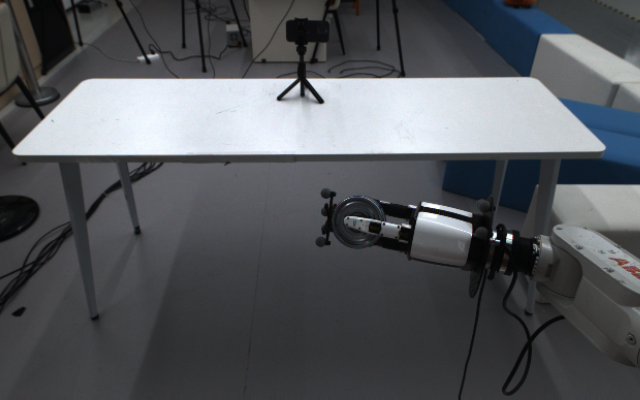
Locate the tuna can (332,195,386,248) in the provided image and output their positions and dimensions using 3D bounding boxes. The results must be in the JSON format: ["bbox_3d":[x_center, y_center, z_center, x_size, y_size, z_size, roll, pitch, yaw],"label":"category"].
[{"bbox_3d":[0.065,0.038,0.773,0.085,0.085,0.034,10,2,11],"label":"tuna can"}]
